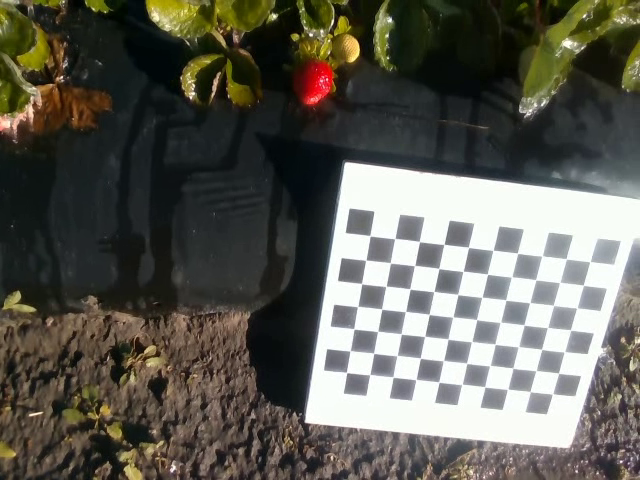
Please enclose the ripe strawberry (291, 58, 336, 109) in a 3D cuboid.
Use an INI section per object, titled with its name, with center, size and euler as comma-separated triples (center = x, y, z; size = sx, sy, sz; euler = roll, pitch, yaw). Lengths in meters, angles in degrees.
[ripe strawberry]
center = -0.005, -0.105, 0.422
size = 0.039, 0.040, 0.039
euler = 1, 42, 7
